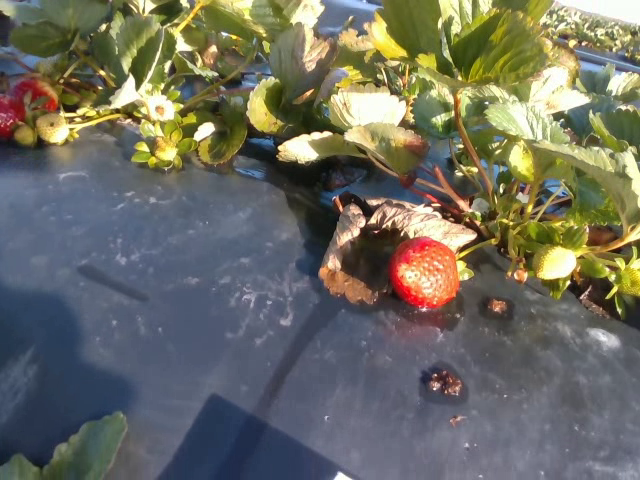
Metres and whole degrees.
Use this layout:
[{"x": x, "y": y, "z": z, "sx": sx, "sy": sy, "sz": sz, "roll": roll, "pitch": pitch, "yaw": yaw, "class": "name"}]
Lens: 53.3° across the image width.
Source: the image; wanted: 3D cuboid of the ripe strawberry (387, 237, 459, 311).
[{"x": 0.042, "y": 0.016, "z": 0.280, "sx": 0.047, "sy": 0.038, "sz": 0.054, "roll": 46, "pitch": 31, "yaw": 25, "class": "ripe strawberry"}]
